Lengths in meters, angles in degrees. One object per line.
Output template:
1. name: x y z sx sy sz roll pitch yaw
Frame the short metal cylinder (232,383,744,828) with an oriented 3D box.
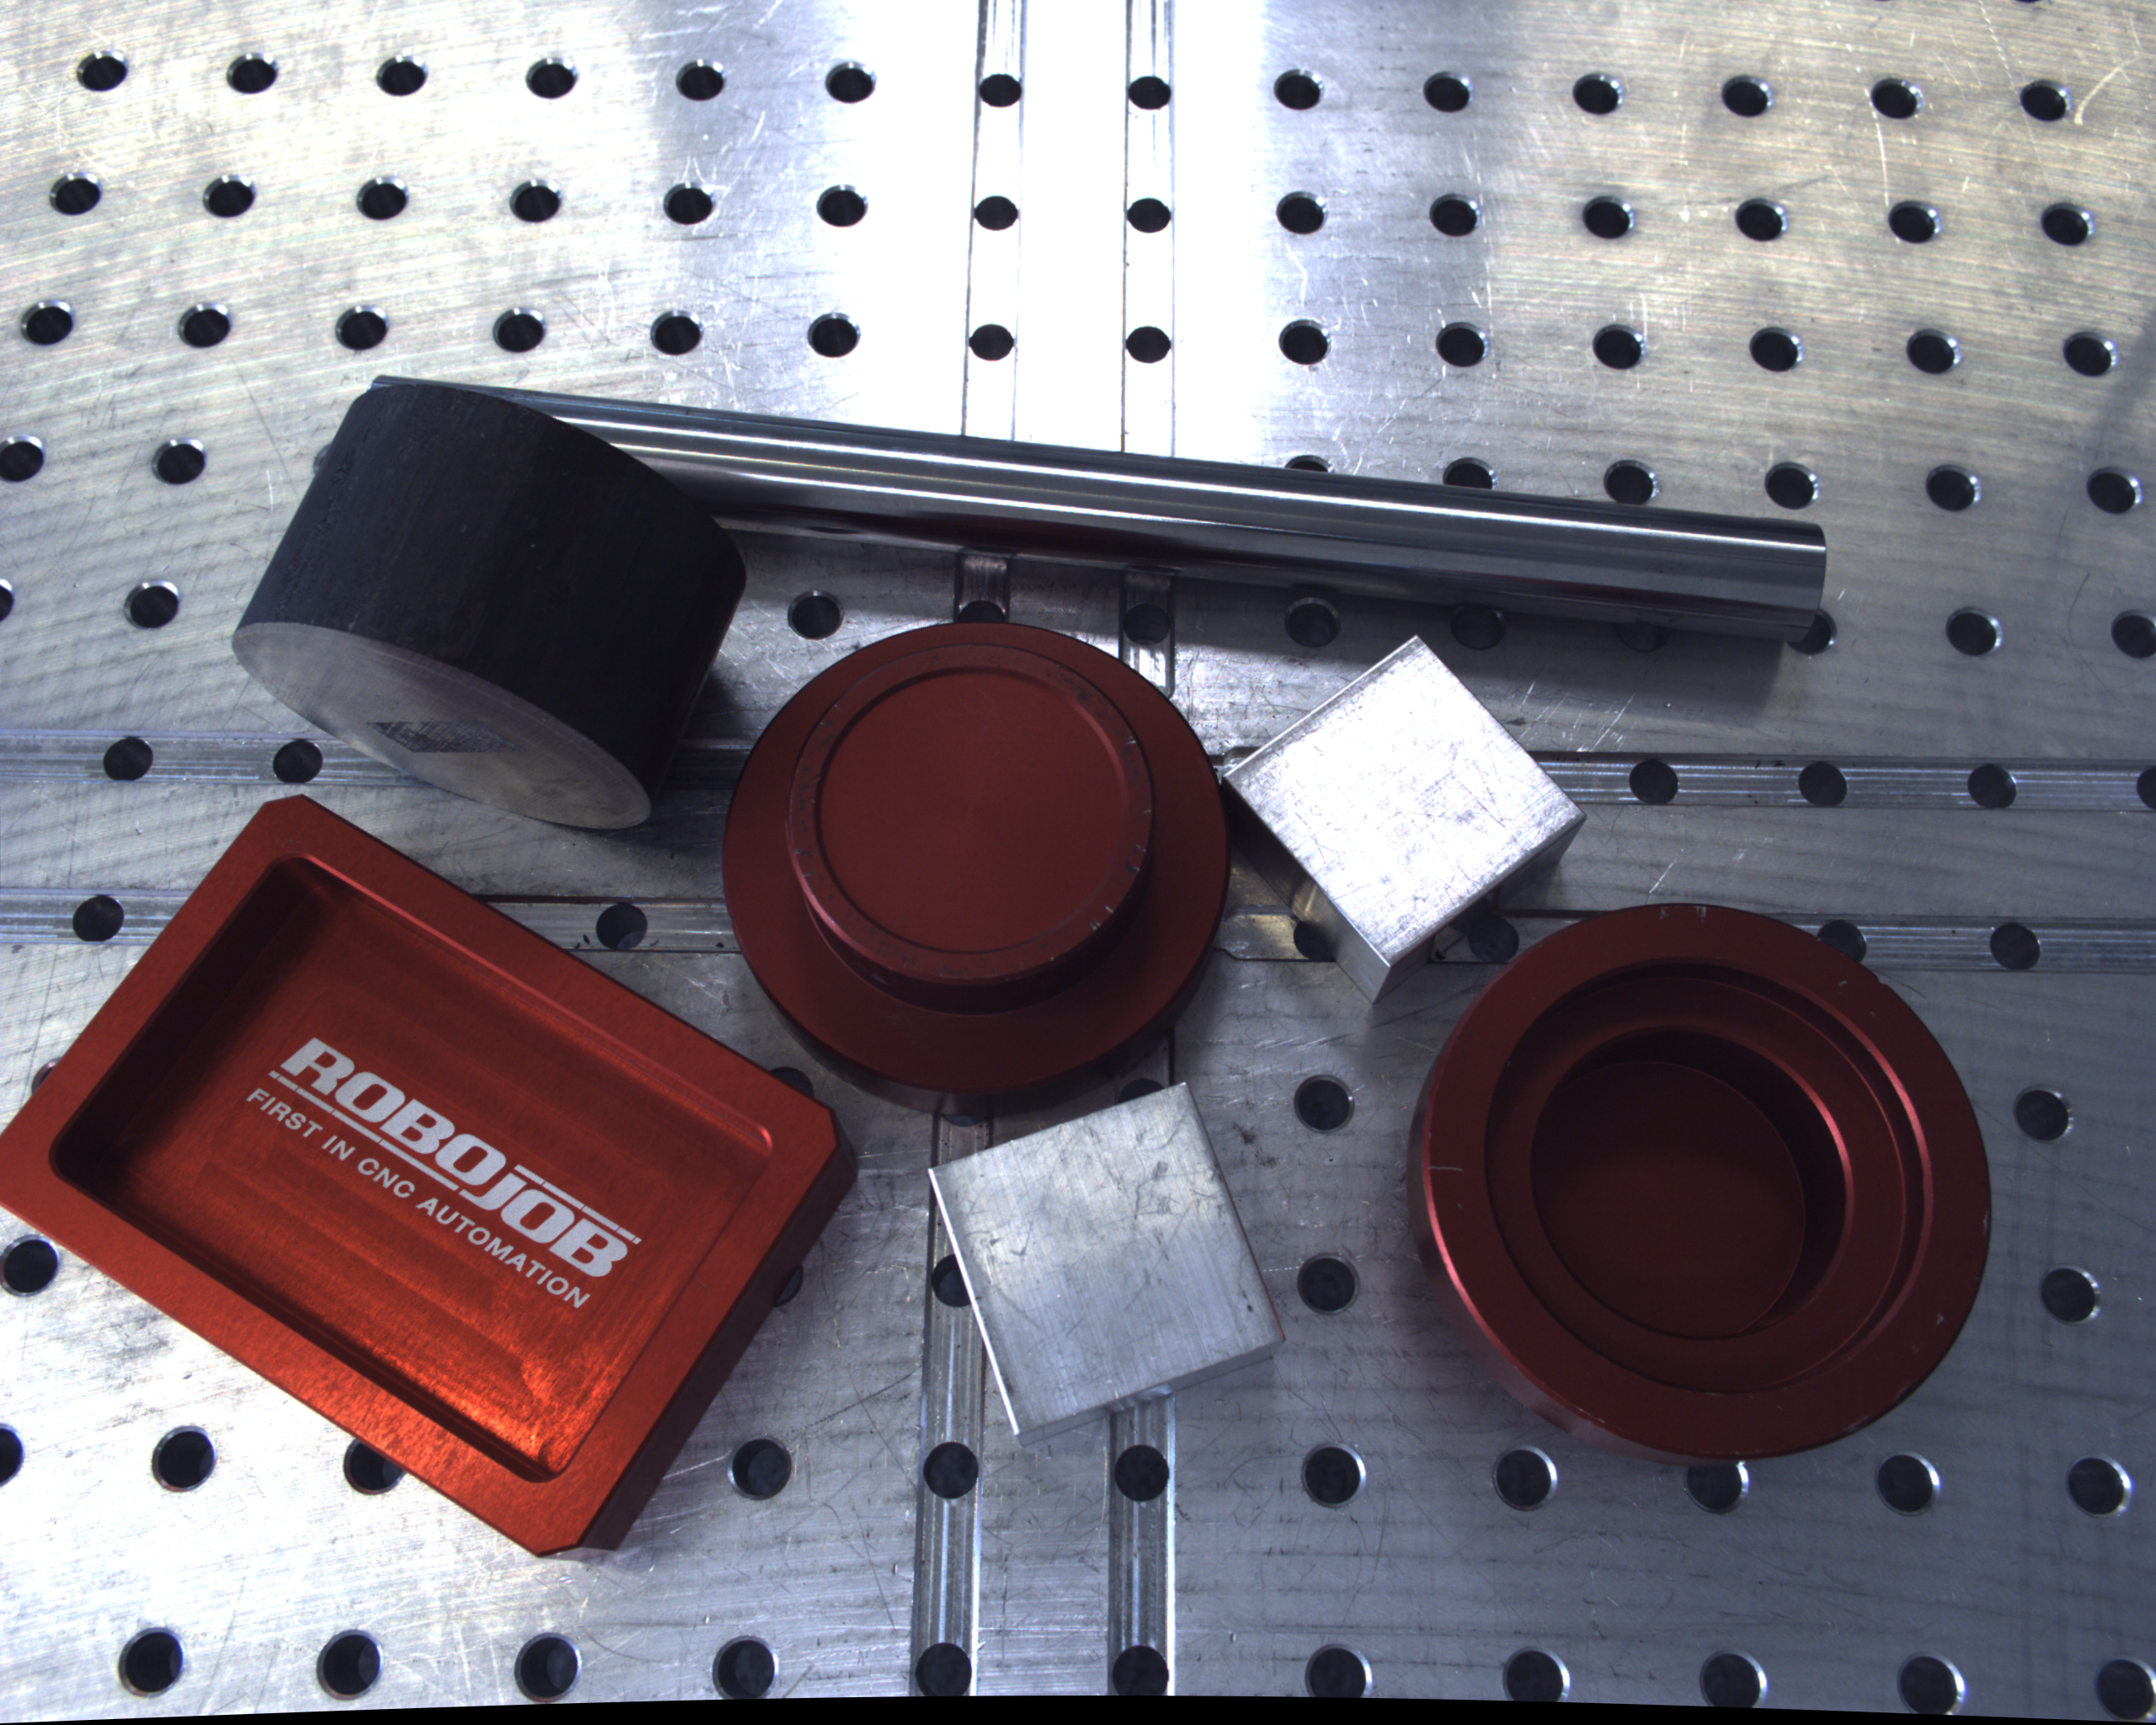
1. short metal cylinder: -0.111 -0.047 0.399 0.080 0.080 0.050 17 71 6

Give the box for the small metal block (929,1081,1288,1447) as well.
1. small metal block: 0.005 0.074 0.385 0.050 0.025 0.050 -18 71 -7

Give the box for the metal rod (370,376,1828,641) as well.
1. metal rod: 0.002 -0.075 0.438 0.302 0.025 0.025 6 70 2

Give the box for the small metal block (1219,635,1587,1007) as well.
1. small metal block: 0.063 -0.008 0.415 0.050 0.025 0.050 -36 74 -12

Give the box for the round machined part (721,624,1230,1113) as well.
1. round machined part: -0.020 -0.004 0.403 0.099 0.042 0.098 0 67 0

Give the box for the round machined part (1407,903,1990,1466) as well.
1. round machined part: 0.109 0.060 0.381 0.099 0.042 0.098 0 70 0

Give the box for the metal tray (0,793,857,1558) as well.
1. metal tray: -0.119 0.056 0.387 0.130 0.030 0.090 29 73 10
